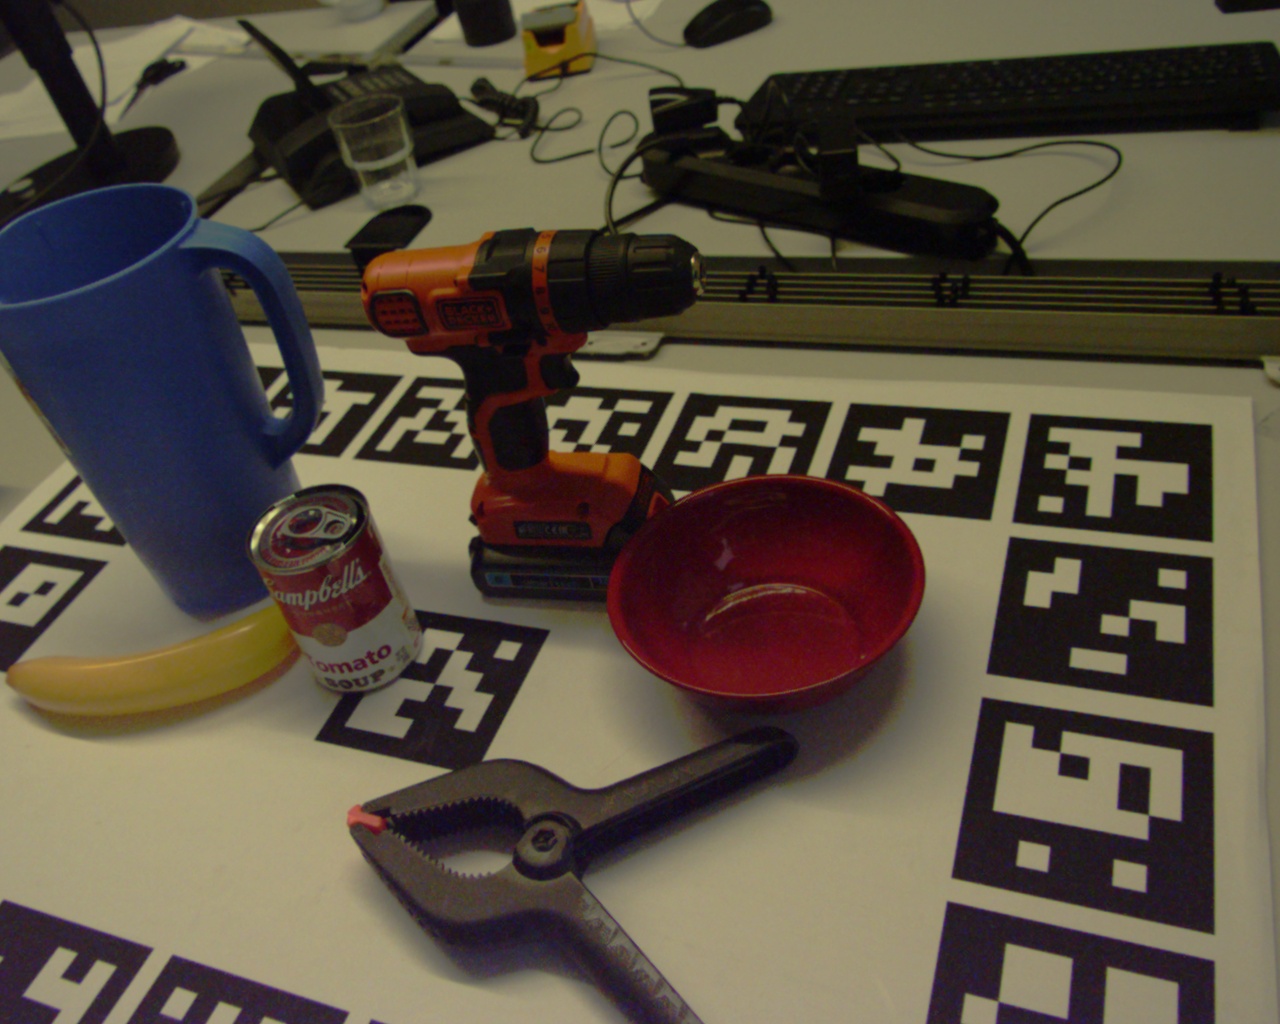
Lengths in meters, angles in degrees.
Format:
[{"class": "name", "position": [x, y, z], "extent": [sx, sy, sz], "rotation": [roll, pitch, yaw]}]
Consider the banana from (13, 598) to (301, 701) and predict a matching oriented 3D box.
[{"class": "banana", "position": [-0.297, 0.084, 0.705], "extent": [0.197, 0.038, 0.074], "rotation": [-12, 34, 2]}]

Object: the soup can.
[{"class": "soup can", "position": [-0.172, 0.036, 0.670], "extent": [0.068, 0.101, 0.068], "rotation": [-8, 34, 4]}]

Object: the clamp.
[{"class": "clamp", "position": [-0.046, 0.149, 0.547], "extent": [0.205, 0.036, 0.165], "rotation": [3, 49, 19]}]

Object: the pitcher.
[{"class": "pitcher", "position": [-0.279, -0.068, 0.709], "extent": [0.189, 0.241, 0.134], "rotation": [-12, 39, 3]}]

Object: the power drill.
[{"class": "power drill", "position": [-0.043, -0.066, 0.649], "extent": [0.186, 0.185, 0.057], "rotation": [2, 44, 17]}]

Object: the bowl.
[{"class": "bowl", "position": [0.057, 0.043, 0.626], "extent": [0.162, 0.055, 0.162], "rotation": [-9, 43, 8]}]
